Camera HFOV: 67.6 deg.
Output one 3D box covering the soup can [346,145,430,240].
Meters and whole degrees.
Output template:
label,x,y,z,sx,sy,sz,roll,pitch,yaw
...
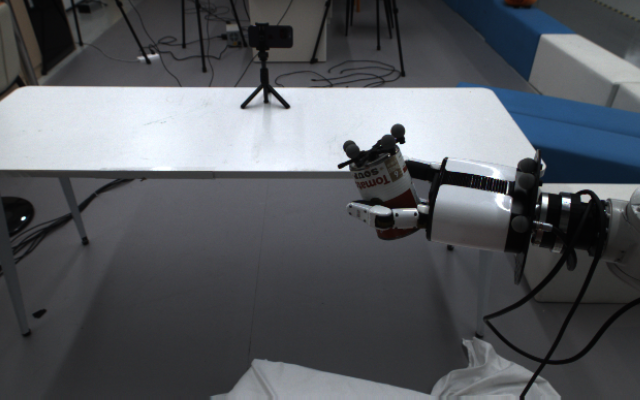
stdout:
label,x,y,z,sx,sy,sz,roll,pitch,yaw
soup can,0.088,-0.011,0.608,0.067,0.101,0.067,-23,16,7
